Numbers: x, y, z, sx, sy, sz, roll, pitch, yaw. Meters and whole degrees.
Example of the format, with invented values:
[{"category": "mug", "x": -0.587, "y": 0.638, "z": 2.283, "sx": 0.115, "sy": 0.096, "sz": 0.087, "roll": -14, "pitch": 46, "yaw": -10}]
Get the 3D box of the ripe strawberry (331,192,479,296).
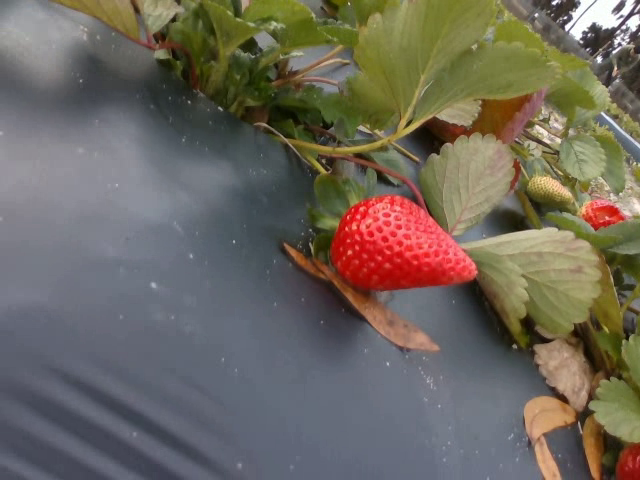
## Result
[{"category": "ripe strawberry", "x": 0.036, "y": 0.006, "z": 0.239, "sx": 0.065, "sy": 0.043, "sz": 0.047, "roll": 18, "pitch": 56, "yaw": 41}]
